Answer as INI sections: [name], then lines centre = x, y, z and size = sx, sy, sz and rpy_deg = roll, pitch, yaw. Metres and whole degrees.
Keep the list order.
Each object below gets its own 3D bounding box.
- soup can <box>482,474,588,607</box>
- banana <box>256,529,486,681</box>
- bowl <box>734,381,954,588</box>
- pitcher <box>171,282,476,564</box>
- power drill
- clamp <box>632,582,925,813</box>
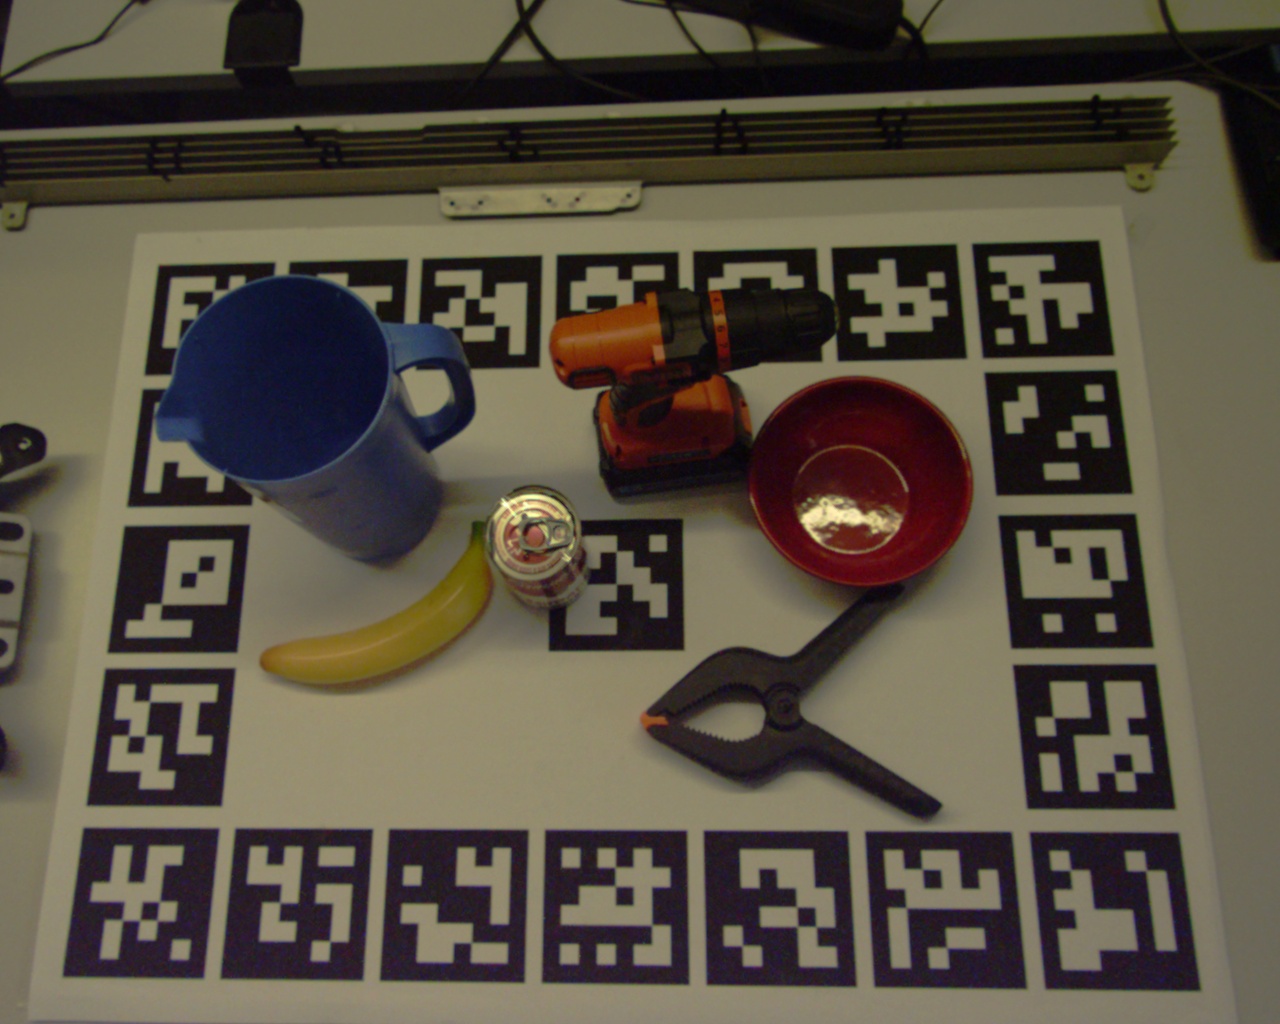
[soup can]
centre = -0.075, 0.024, 0.849
size = 0.068, 0.101, 0.068
rpy_deg = -2, 66, 3
[banana]
centre = -0.197, 0.085, 0.874
size = 0.197, 0.038, 0.075
rpy_deg = -26, 66, -6
[bowl]
centre = 0.151, -0.016, 0.868
size = 0.162, 0.055, 0.162
rpy_deg = -1, 75, 4
[pitcher]
centre = -0.200, -0.051, 0.805
size = 0.188, 0.241, 0.134
rpy_deg = -25, 72, -4
[power drill]
centre = 0.038, -0.091, 0.810
size = 0.184, 0.186, 0.057
rpy_deg = -6, 74, 1
[clamp]
centre = 0.096, 0.139, 0.830
size = 0.203, 0.036, 0.166
rpy_deg = -4, 78, 2
